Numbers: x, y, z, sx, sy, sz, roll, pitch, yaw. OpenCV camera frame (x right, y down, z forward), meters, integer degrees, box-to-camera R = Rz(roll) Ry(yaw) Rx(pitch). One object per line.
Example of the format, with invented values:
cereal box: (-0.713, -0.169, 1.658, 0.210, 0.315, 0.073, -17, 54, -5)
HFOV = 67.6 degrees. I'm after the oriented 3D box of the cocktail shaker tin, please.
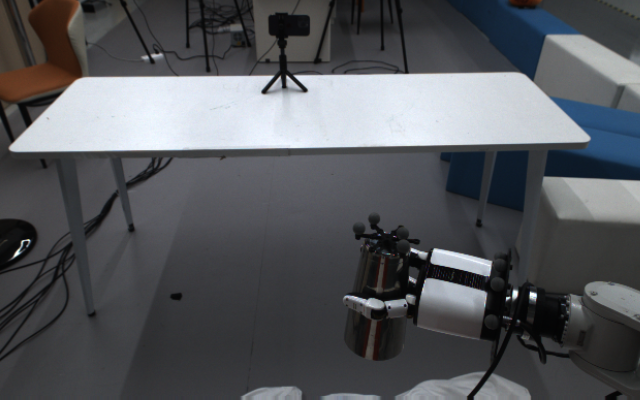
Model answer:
cocktail shaker tin: (0.089, 0.135, 0.704, 0.093, 0.170, 0.093, 2, 25, -1)
